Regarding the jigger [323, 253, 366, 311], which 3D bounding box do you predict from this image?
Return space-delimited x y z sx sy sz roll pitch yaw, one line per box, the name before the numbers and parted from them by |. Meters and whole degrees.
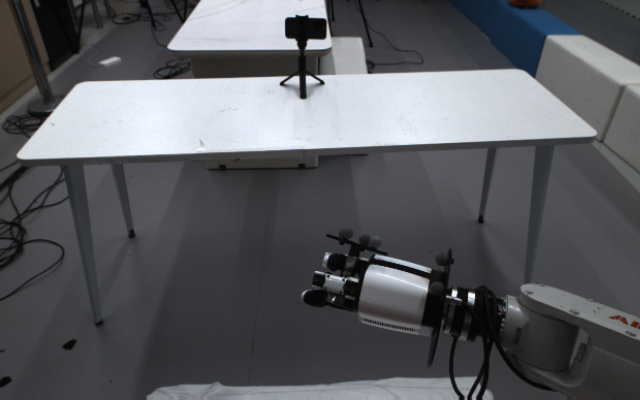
jigger | 0.037 0.110 0.669 0.043 0.071 0.043 19 -6 2
